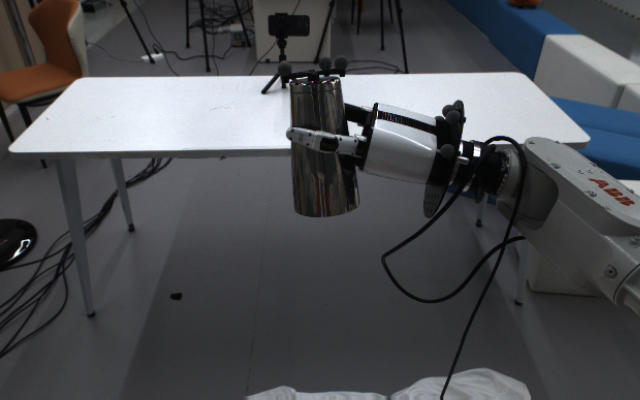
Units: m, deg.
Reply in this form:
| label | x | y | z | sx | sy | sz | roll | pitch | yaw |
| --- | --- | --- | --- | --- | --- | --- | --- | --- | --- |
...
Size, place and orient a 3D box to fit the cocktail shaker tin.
| label | x | y | z | sx | sy | sz | roll | pitch | yaw |
| --- | --- | --- | --- | --- | --- | --- | --- | --- | --- |
| cocktail shaker tin | 0.001 | -0.073 | 0.643 | 0.093 | 0.170 | 0.093 | -6 | 19 | 2 |
